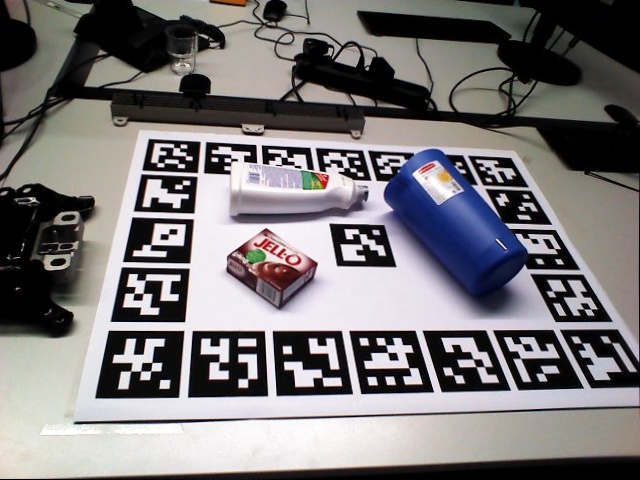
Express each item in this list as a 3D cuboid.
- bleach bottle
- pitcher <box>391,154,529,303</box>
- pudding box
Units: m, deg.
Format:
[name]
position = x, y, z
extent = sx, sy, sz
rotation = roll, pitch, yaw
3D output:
[bleach bottle]
position = -0.027, -0.089, 0.913
extent = 0.250, 0.068, 0.102
rotation = 1, 50, -13
[pitcher]
position = 0.242, -0.016, 0.868
extent = 0.188, 0.134, 0.242
rotation = 13, 37, -51
[pudding box]
position = -0.071, 0.038, 0.789
extent = 0.114, 0.039, 0.089
rotation = 36, 44, 21
